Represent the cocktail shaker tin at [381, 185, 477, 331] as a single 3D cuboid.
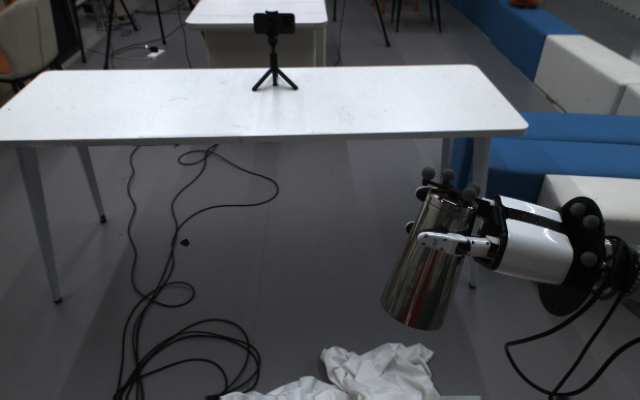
[{"bbox_3d":[0.151,0.071,0.646,0.093,0.170,0.093,14,18,-5],"label":"cocktail shaker tin"}]
